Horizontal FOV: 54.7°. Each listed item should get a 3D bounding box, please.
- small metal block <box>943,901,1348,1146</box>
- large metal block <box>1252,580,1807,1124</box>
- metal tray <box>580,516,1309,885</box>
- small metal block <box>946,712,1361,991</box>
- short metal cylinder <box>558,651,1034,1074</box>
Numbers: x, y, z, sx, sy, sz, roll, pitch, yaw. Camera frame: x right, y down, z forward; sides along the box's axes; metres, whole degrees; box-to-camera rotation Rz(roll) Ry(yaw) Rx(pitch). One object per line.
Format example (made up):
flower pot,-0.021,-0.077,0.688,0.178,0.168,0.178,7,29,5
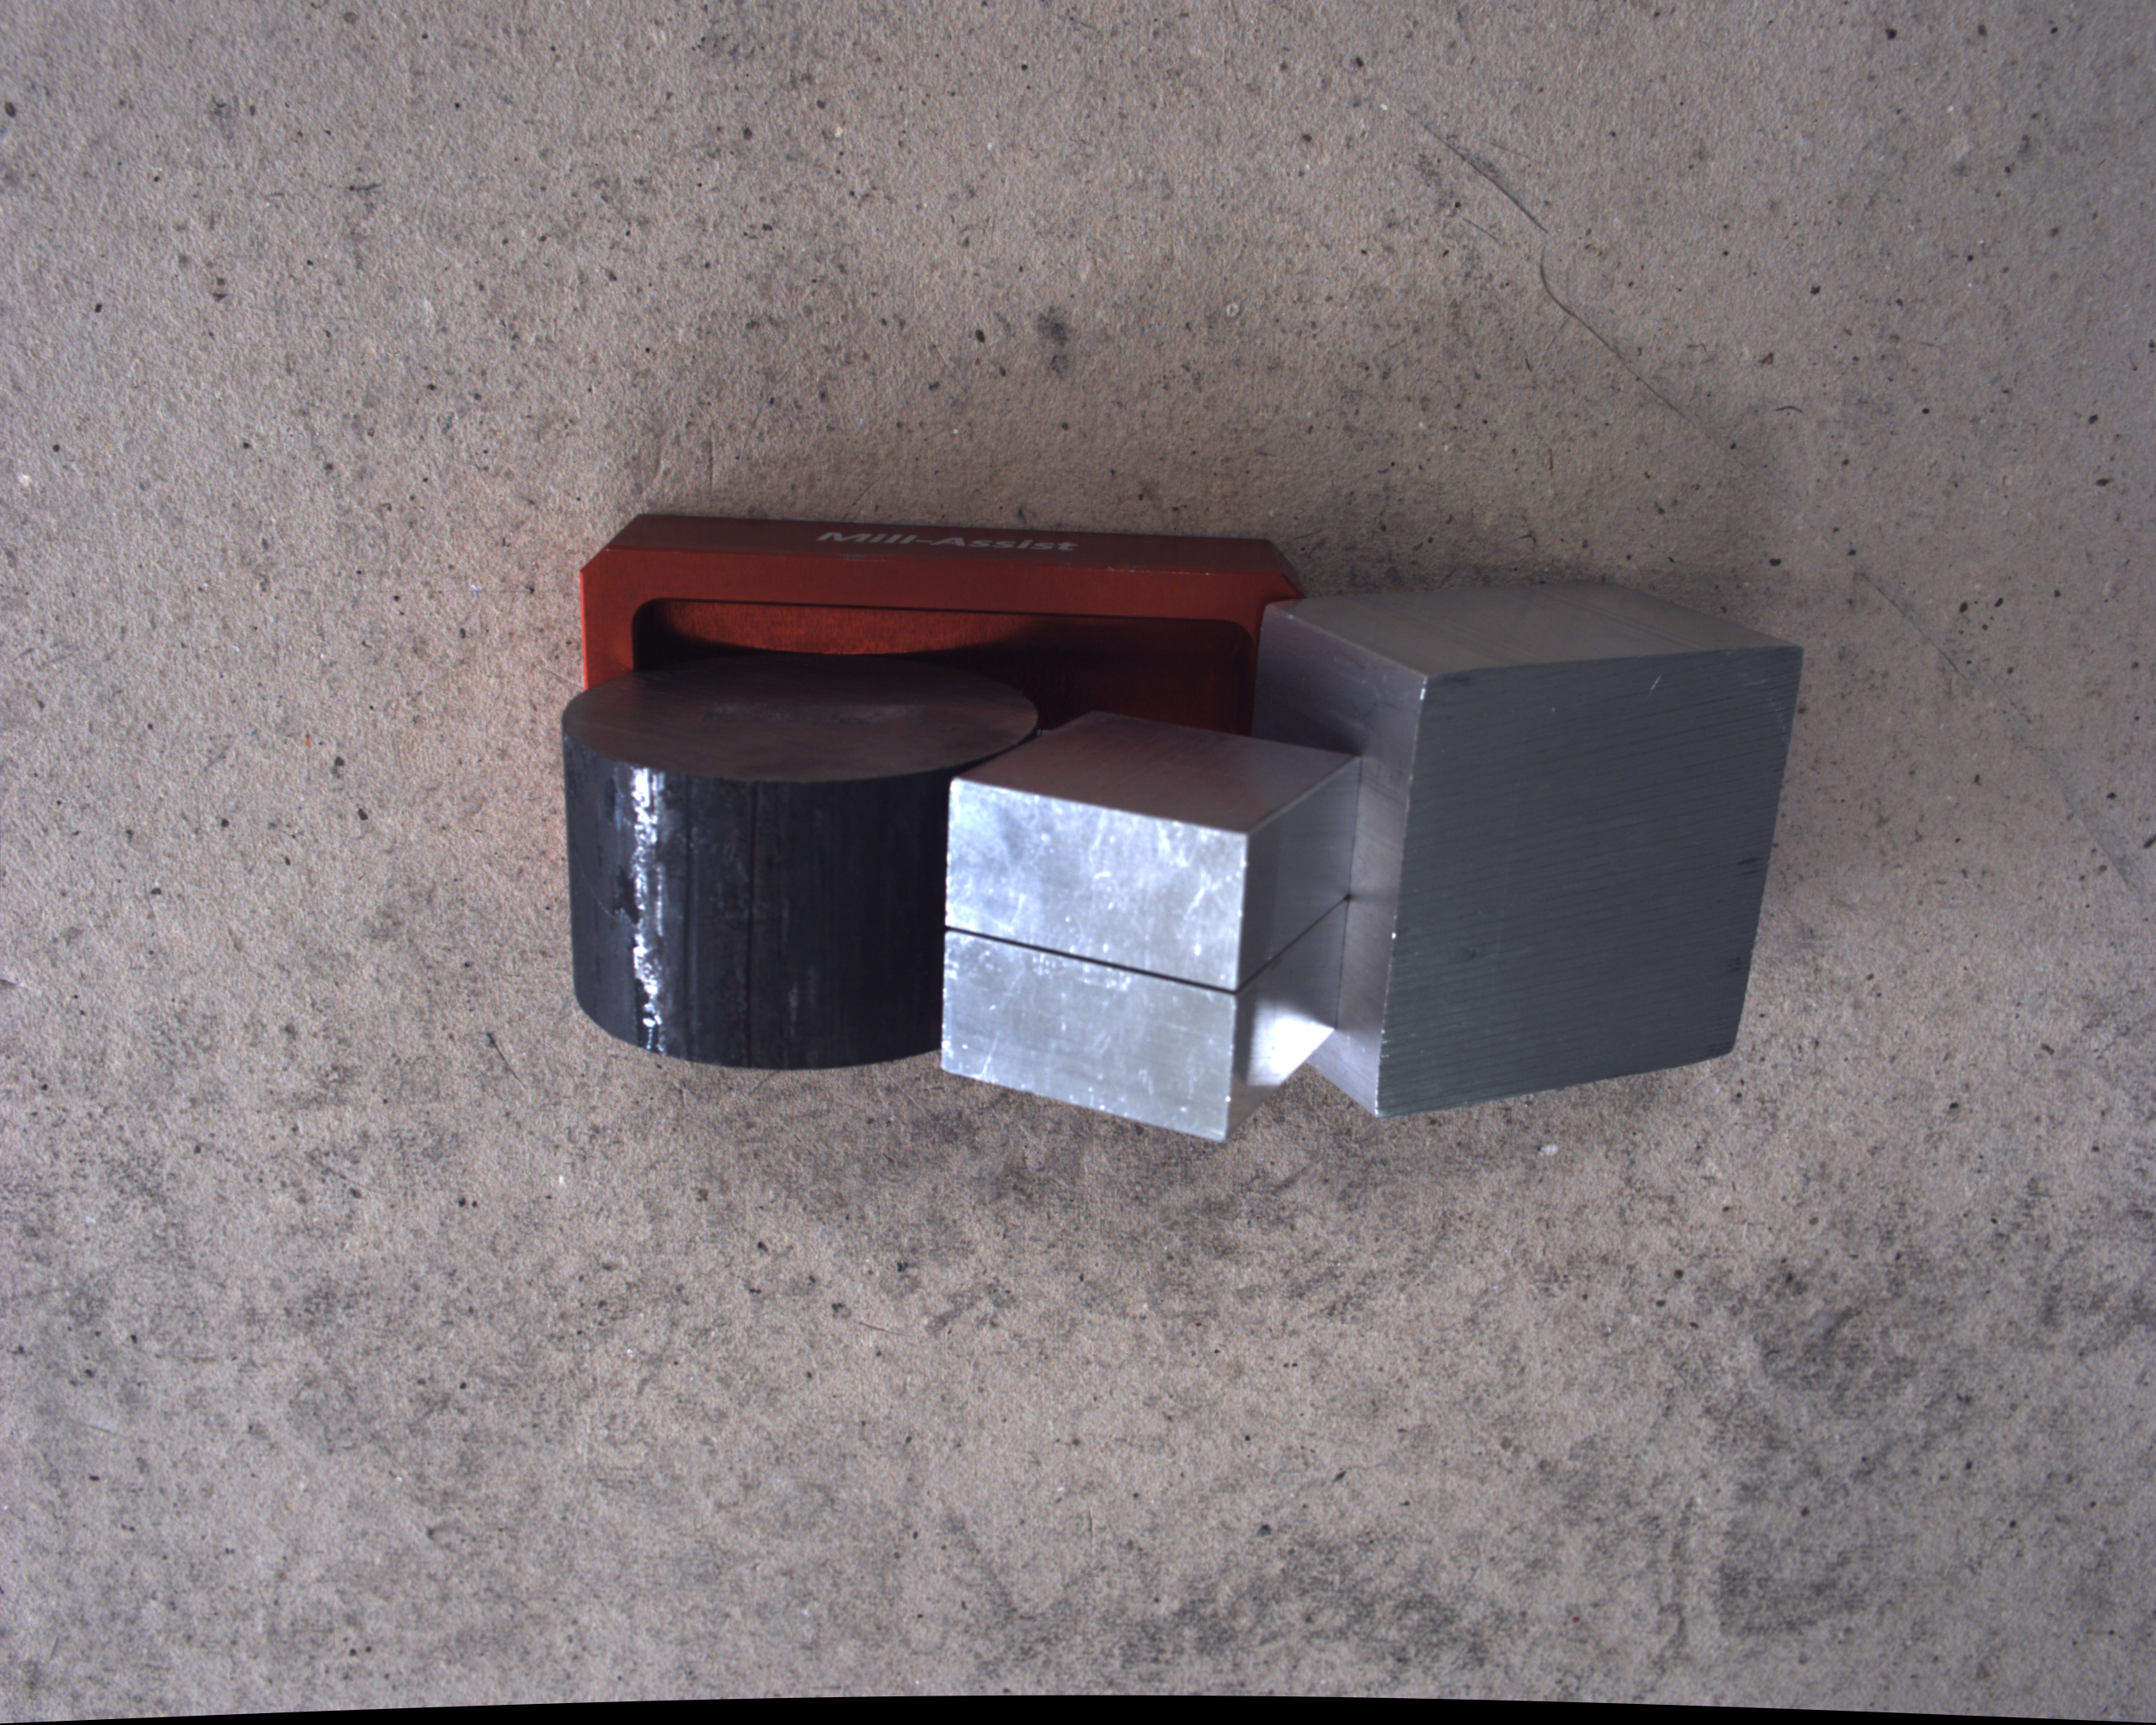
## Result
small metal block,0.012,0.021,0.349,0.050,0.050,0.025,11,111,23
large metal block,0.078,-0.005,0.381,0.081,0.050,0.079,-7,113,-26
metal tray,-0.025,-0.017,0.401,0.131,0.030,0.089,2,110,-1
small metal block,0.013,-0.004,0.341,0.050,0.050,0.025,11,111,23
short metal cylinder,-0.048,-0.003,0.366,0.081,0.080,0.050,1,110,-1
